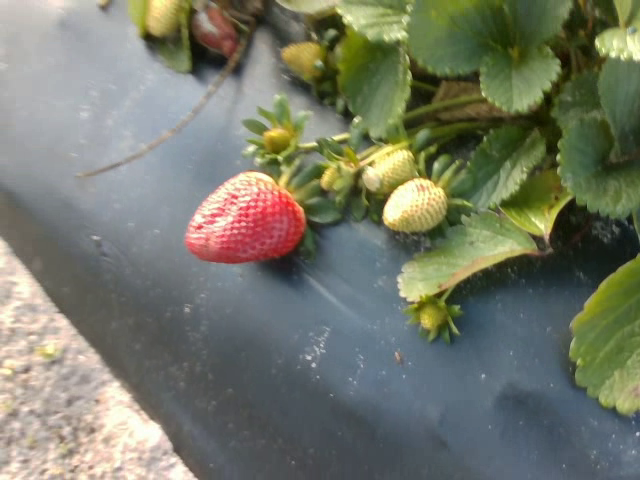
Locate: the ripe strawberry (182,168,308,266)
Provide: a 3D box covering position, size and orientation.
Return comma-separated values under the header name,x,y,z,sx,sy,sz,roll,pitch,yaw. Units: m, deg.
name,x,y,z,sx,sy,sz,roll,pitch,yaw
ripe strawberry,-0.044,-0.008,0.340,0.067,0.052,0.045,-38,-20,-29
